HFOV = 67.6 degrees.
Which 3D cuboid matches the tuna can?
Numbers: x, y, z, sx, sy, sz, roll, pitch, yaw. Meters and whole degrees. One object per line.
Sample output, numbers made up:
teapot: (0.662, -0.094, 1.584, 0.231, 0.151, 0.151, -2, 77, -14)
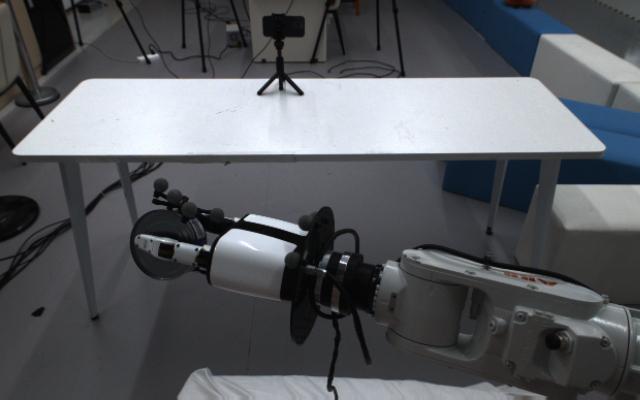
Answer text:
tuna can: (-0.180, 0.053, 0.586, 0.085, 0.085, 0.034, 10, 4, 11)
